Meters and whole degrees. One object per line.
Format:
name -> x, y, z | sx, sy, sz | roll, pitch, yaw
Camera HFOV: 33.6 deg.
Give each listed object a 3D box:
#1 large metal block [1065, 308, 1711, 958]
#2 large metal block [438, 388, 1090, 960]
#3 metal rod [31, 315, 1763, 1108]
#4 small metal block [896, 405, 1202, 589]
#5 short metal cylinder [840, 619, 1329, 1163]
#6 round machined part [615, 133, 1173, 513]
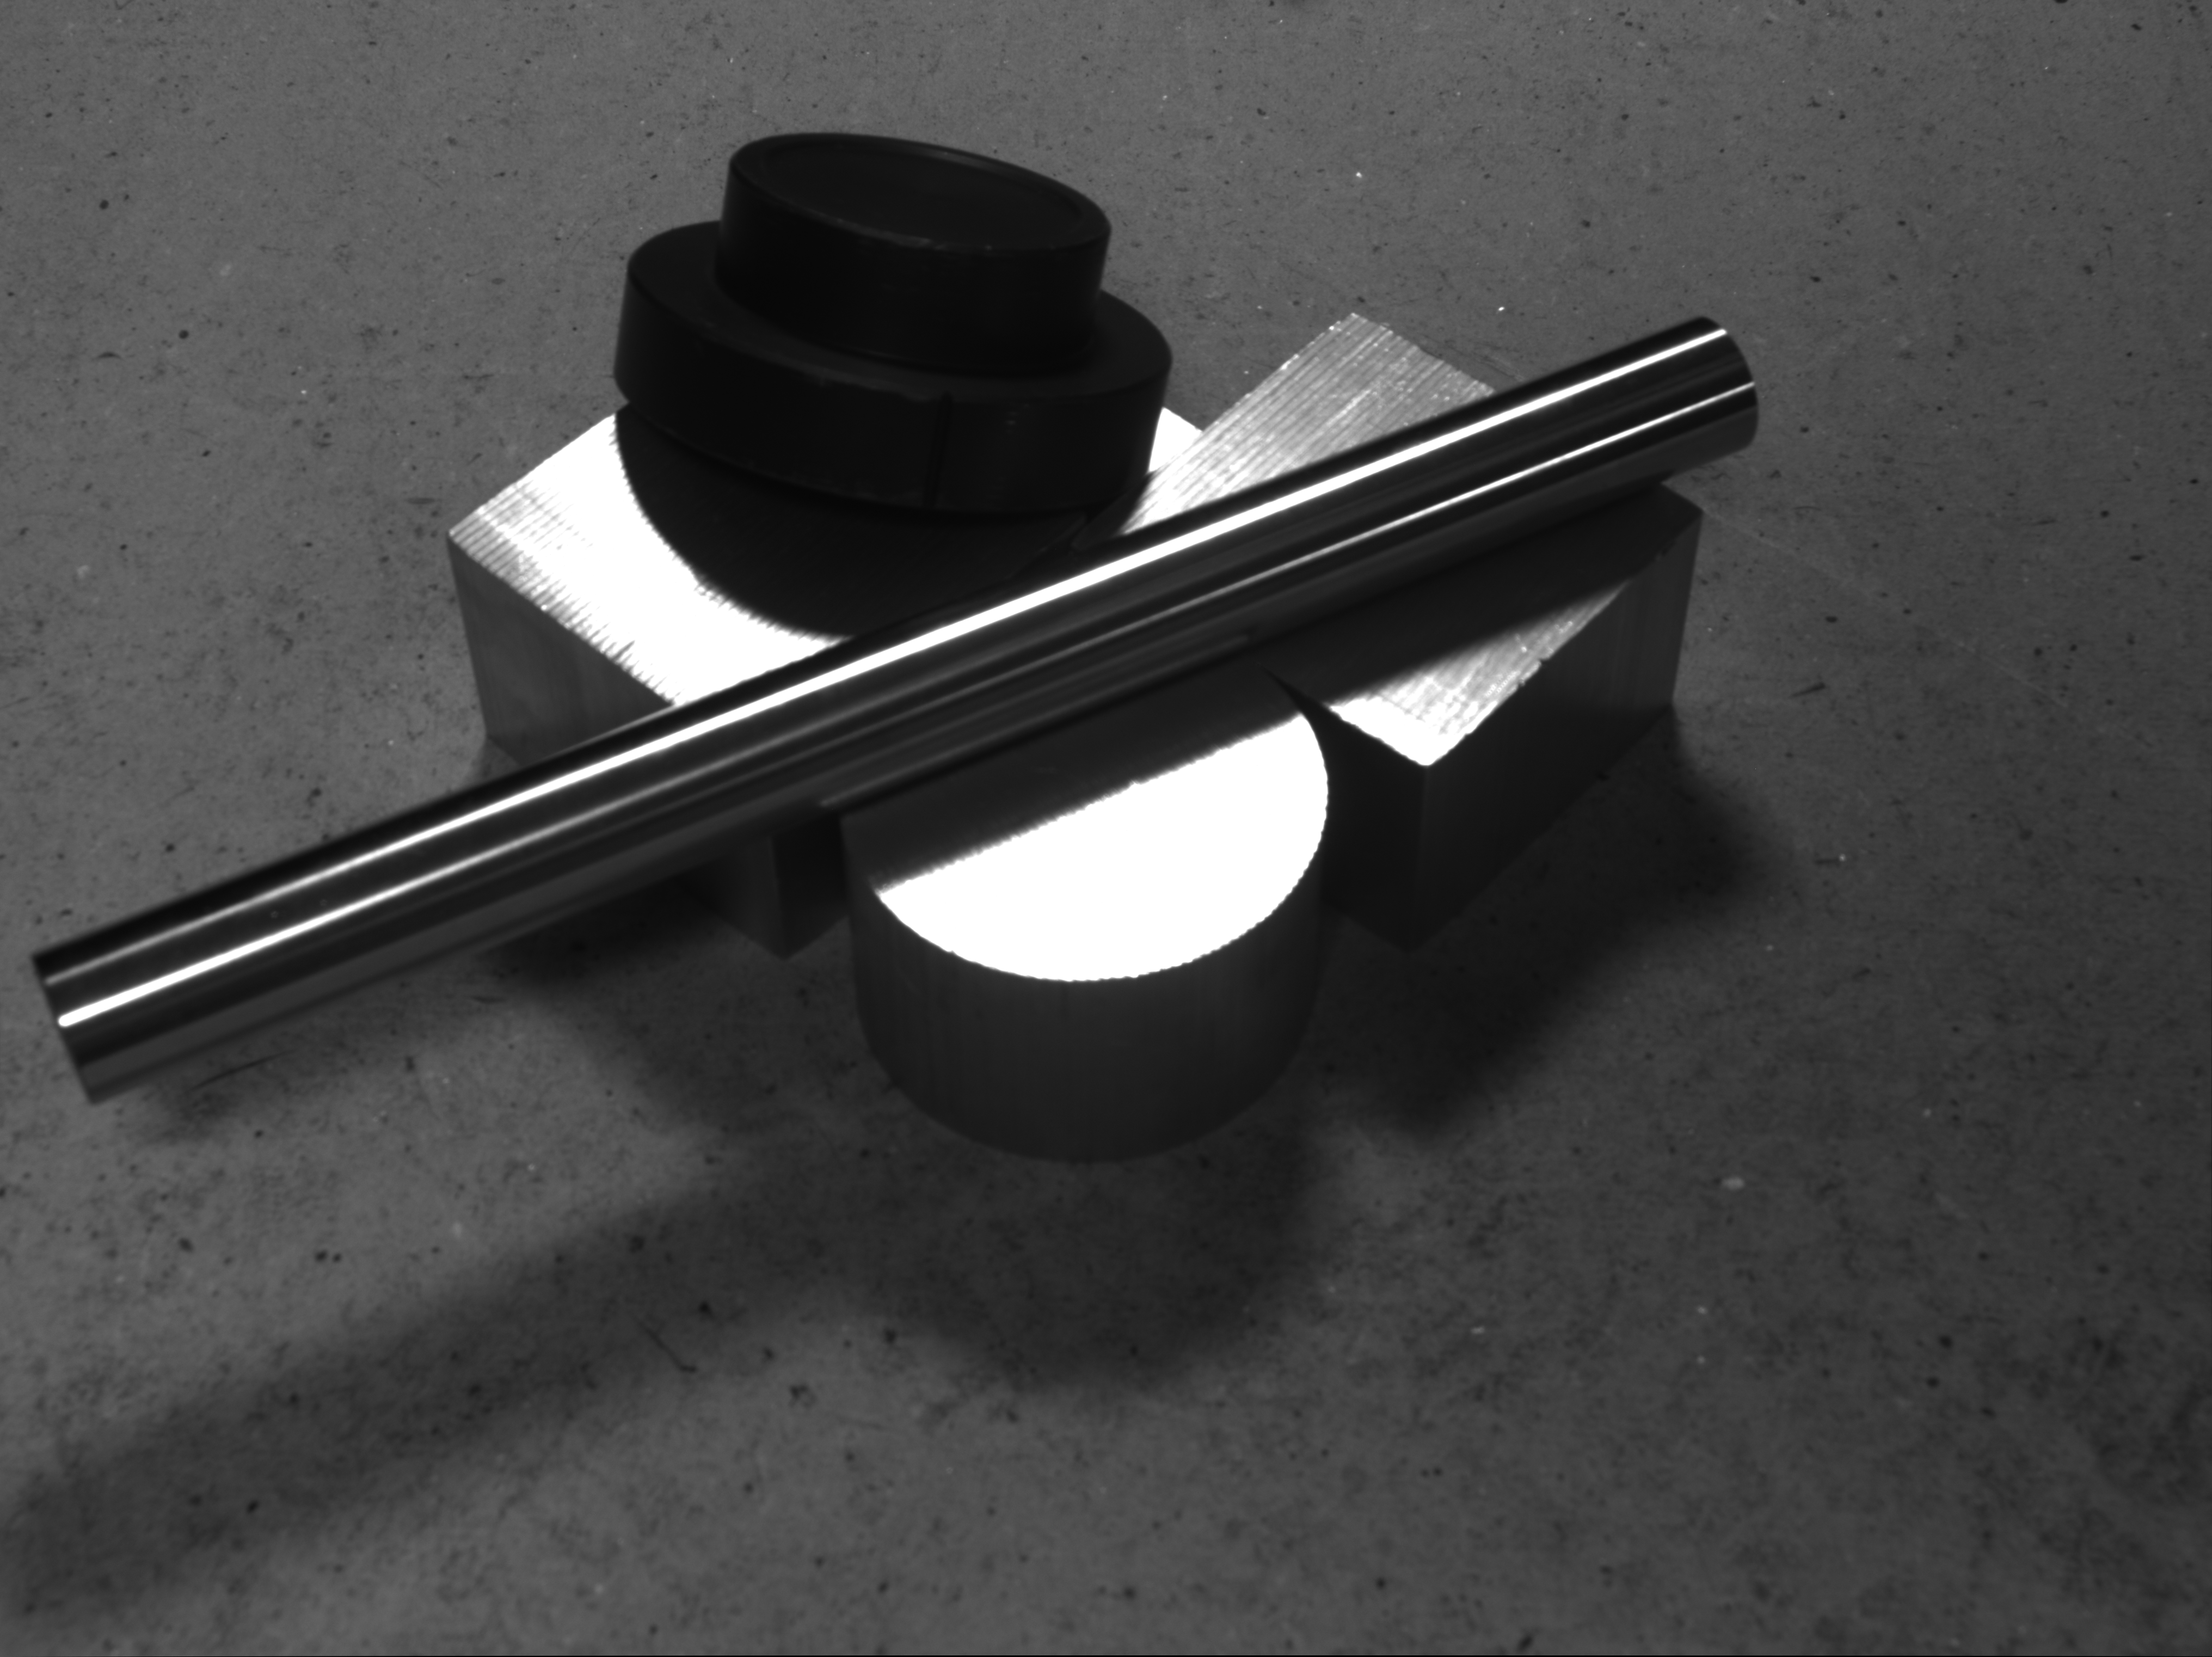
large metal block -> 0.049, -0.037, 0.657 | 0.080, 0.050, 0.080 | 34, 58, 25
large metal block -> -0.059, -0.036, 0.655 | 0.080, 0.050, 0.080 | 35, 58, 26
metal rod -> -0.025, -0.024, 0.597 | 0.300, 0.025, 0.025 | -22, 53, -18
small metal block -> -0.005, -0.059, 0.691 | 0.050, 0.025, 0.050 | 35, 58, 26
short metal cylinder -> -0.004, 0.009, 0.617 | 0.080, 0.050, 0.080 | 0, 50, 0
round machined part -> -0.036, -0.094, 0.652 | 0.098, 0.042, 0.098 | 10, 23, -4
